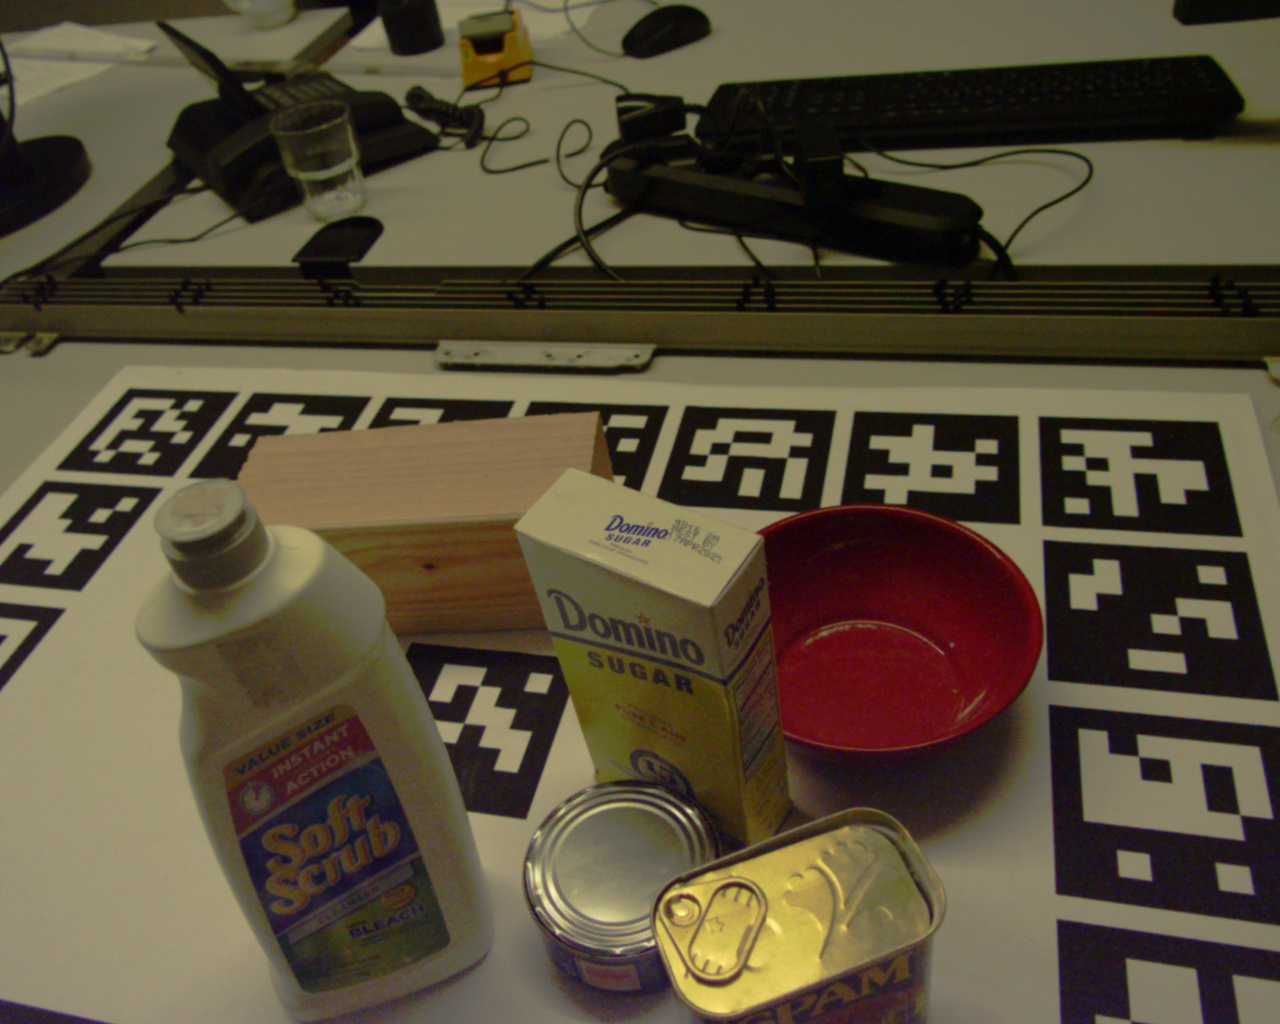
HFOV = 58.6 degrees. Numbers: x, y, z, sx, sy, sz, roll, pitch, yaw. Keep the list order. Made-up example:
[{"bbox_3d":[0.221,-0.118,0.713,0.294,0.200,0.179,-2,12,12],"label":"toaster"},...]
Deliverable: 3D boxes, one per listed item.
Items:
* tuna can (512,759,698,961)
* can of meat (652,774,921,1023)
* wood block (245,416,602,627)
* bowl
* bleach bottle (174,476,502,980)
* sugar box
[{"bbox_3d":[-0.014,0.159,0.523,0.086,0.033,0.086,-7,44,6],"label":"tuna can"},{"bbox_3d":[0.061,0.166,0.470,0.101,0.083,0.058,-17,38,-9],"label":"can of meat"},{"bbox_3d":[-0.128,0.008,0.685,0.207,0.089,0.091,-3,46,8],"label":"wood block"},{"bbox_3d":[0.115,0.061,0.592,0.162,0.055,0.162,-10,40,7],"label":"bowl"},{"bbox_3d":[-0.129,0.093,0.465,0.102,0.249,0.068,-15,40,-4],"label":"bleach bottle"},{"bbox_3d":[0.012,0.066,0.514,0.094,0.175,0.045,17,50,33],"label":"sugar box"}]
